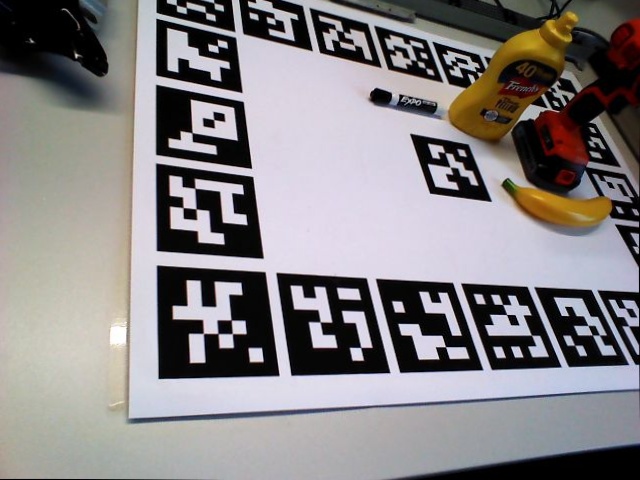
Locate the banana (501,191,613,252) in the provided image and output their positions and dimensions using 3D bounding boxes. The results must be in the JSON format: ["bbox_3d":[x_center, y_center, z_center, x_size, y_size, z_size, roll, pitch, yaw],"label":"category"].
[{"bbox_3d":[0.348,-0.018,0.740,0.197,0.039,0.074,12,57,-18],"label":"banana"}]

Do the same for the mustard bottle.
[{"bbox_3d":[0.274,-0.198,0.714,0.096,0.193,0.058,16,54,-18],"label":"mustard bottle"}]

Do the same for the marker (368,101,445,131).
[{"bbox_3d":[0.124,-0.176,0.736,0.121,0.020,0.019,8,58,-22],"label":"marker"}]

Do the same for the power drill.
[{"bbox_3d":[0.385,-0.140,0.711,0.057,0.188,0.183,19,51,-18],"label":"power drill"}]
